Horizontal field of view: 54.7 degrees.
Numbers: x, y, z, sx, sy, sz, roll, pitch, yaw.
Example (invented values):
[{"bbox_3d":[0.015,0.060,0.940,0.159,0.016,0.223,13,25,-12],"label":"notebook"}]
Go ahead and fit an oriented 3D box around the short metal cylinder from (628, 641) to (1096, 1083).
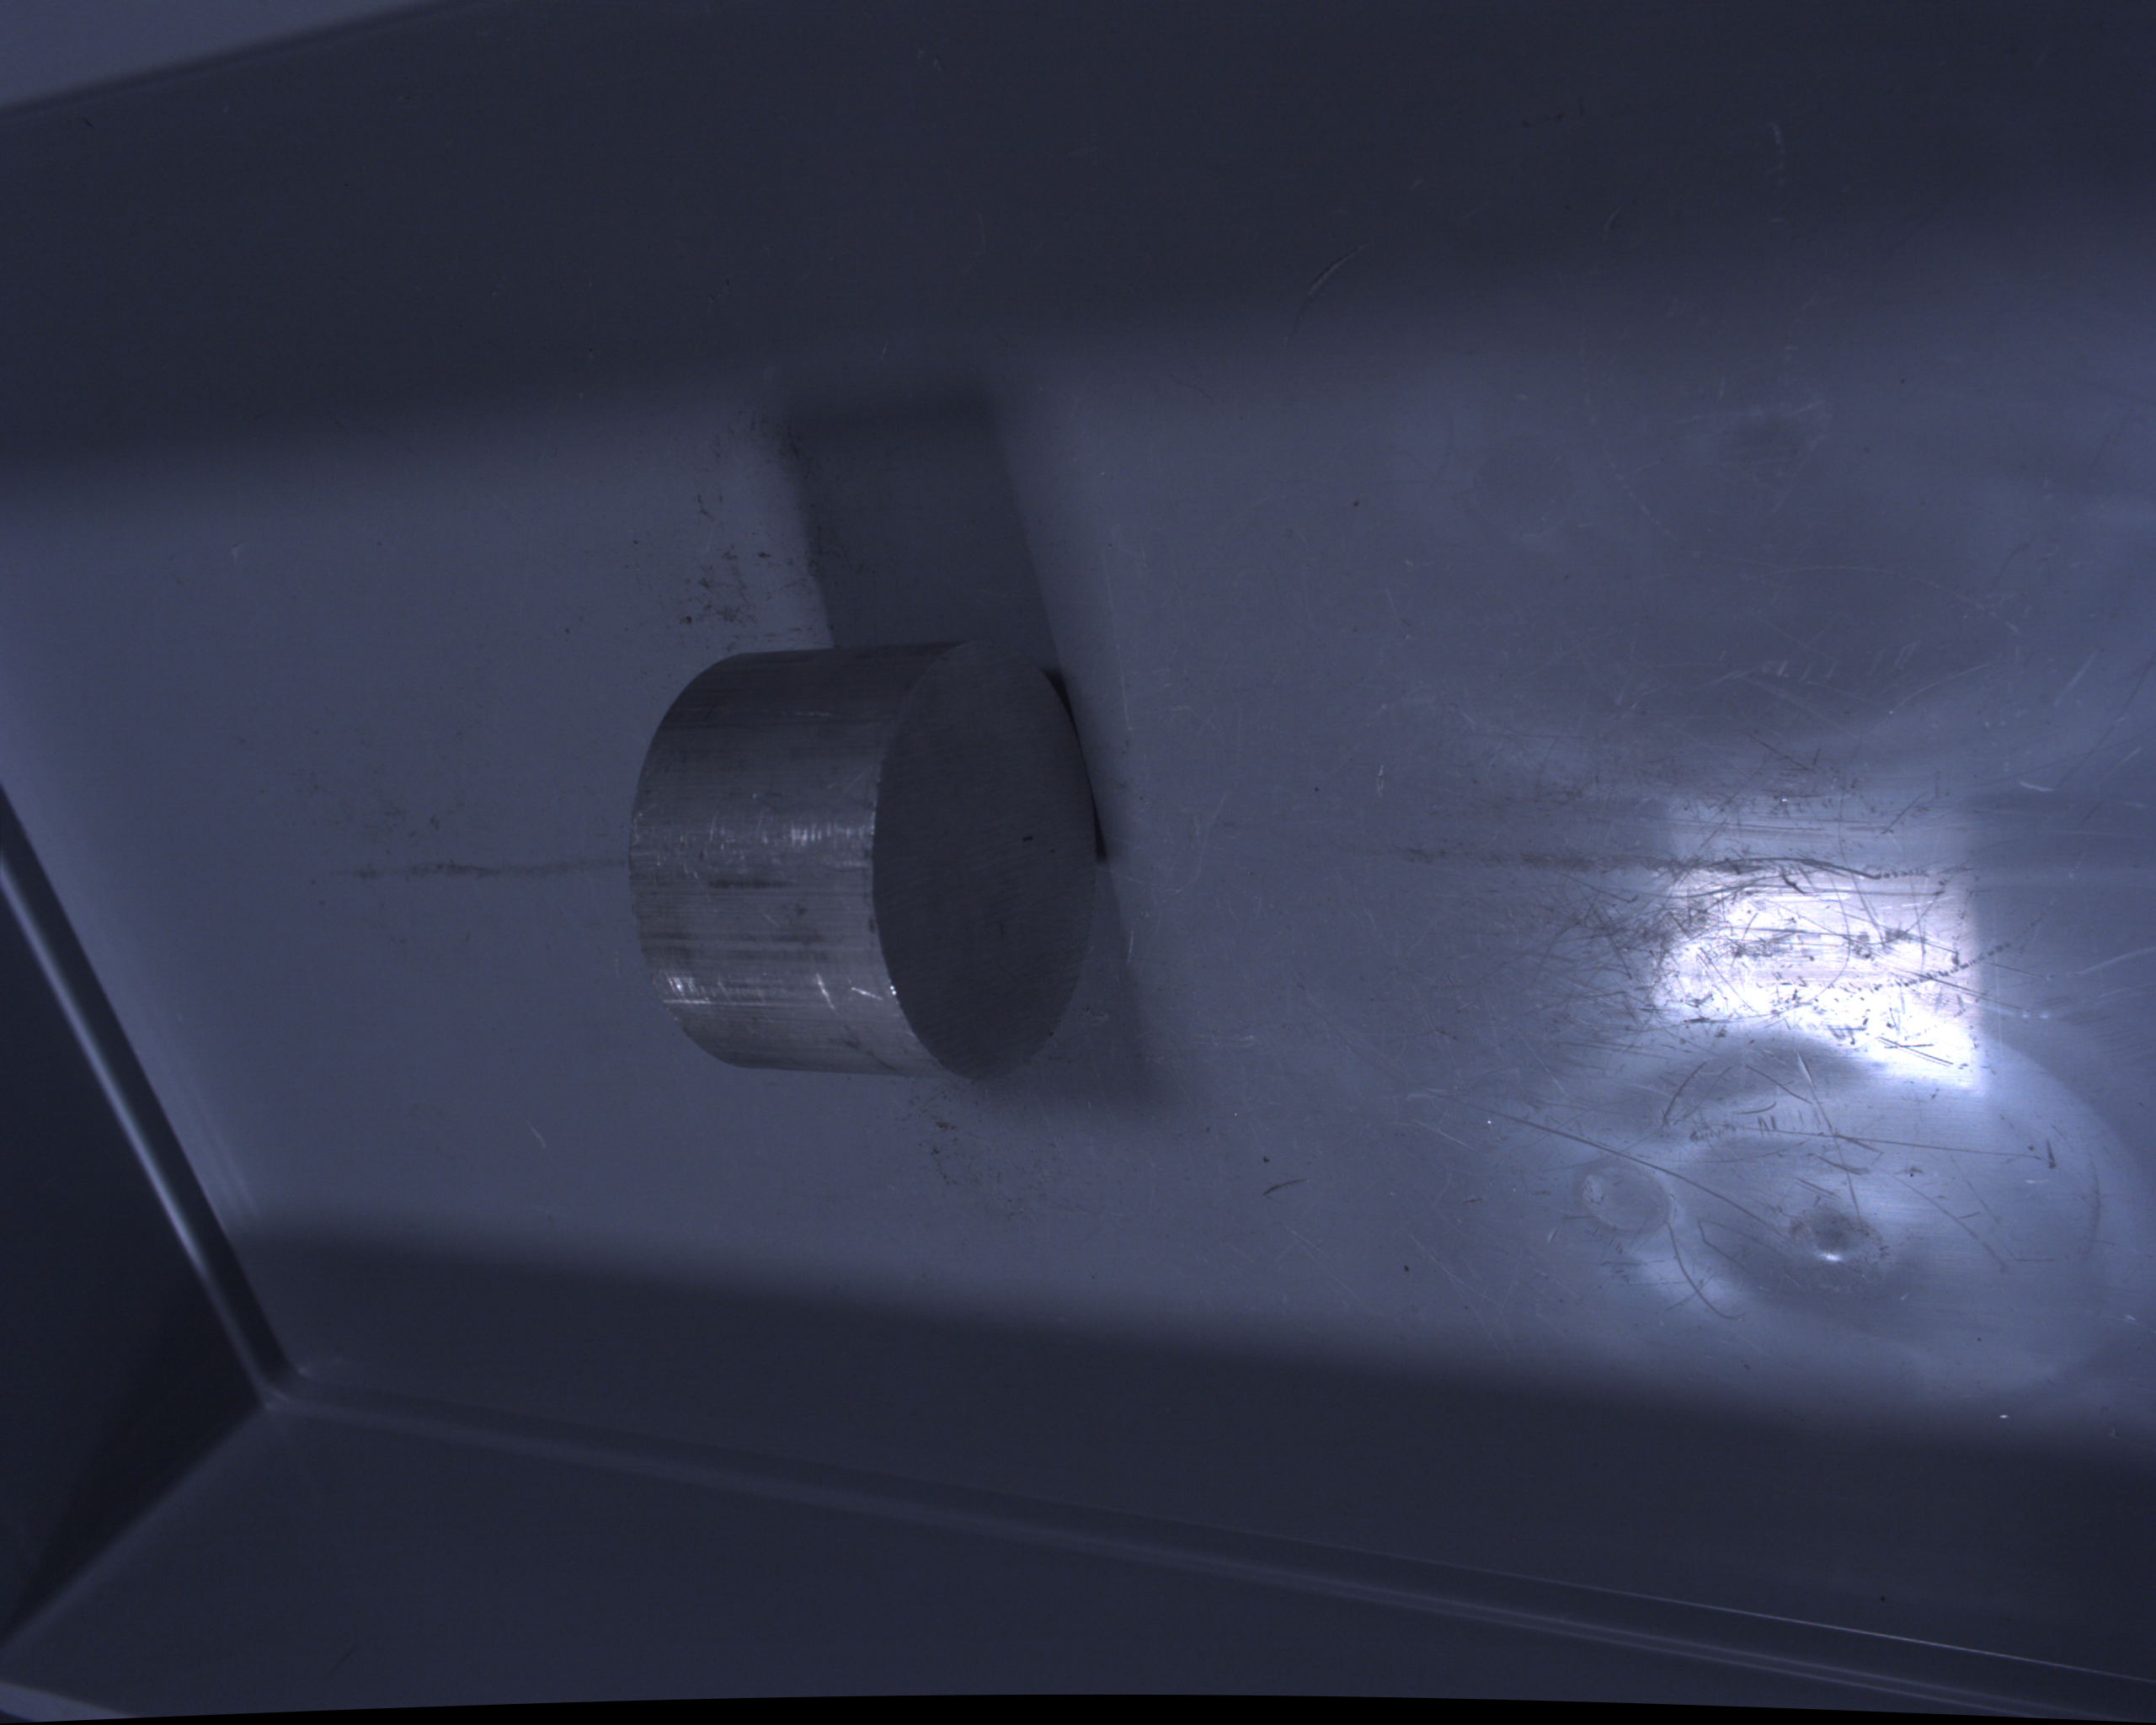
[{"bbox_3d":[-0.038,0.000,0.388,0.050,0.080,0.080,0,119,28],"label":"short metal cylinder"}]
